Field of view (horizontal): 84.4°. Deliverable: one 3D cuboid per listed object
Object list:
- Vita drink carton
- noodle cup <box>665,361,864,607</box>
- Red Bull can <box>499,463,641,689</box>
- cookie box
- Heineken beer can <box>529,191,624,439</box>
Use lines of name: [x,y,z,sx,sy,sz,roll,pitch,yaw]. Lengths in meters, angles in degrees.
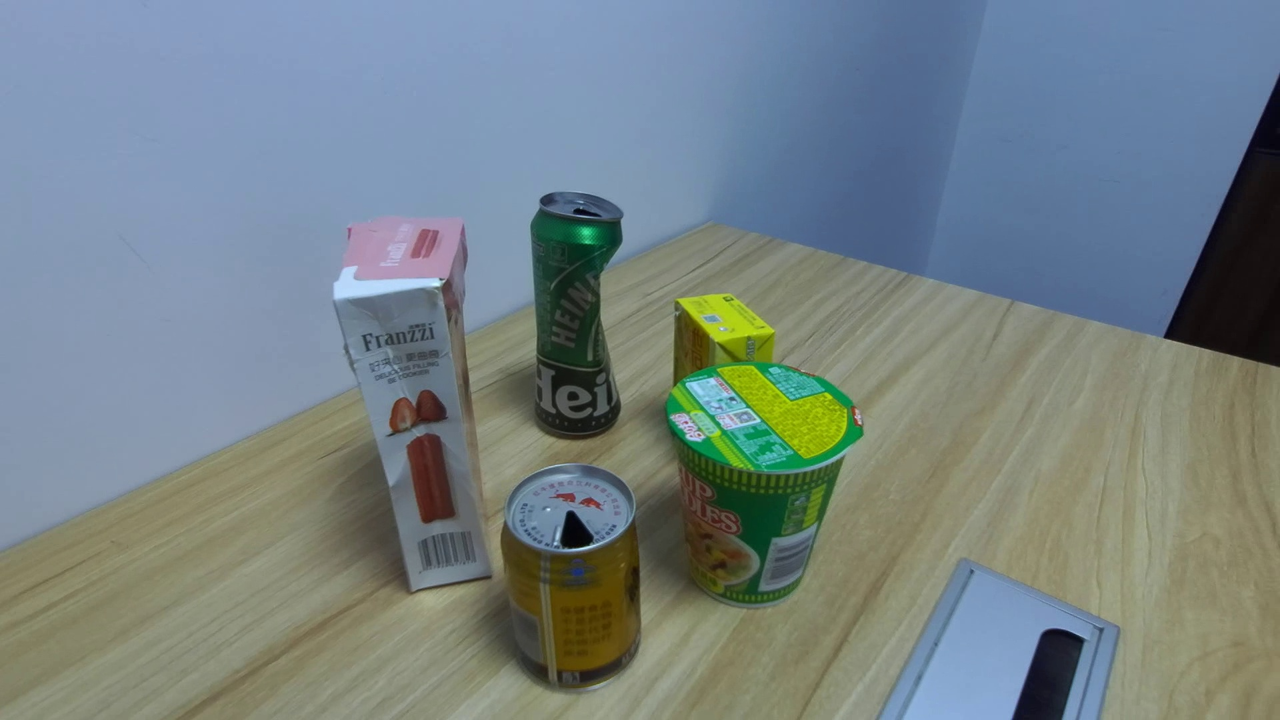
Vita drink carton: [0.051,0.016,0.476,0.043,0.109,0.076,-9,32,-19]
noodle cup: [0.062,0.072,0.382,0.097,0.110,0.097,0,30,1]
Red Bull can: [-0.032,0.105,0.345,0.068,0.093,0.068,0,30,0]
cookie box: [-0.118,0.026,0.385,0.059,0.186,0.104,-4,29,-11]
Heineken beer can: [-0.041,-0.028,0.497,0.069,0.168,0.068,23,33,31]
